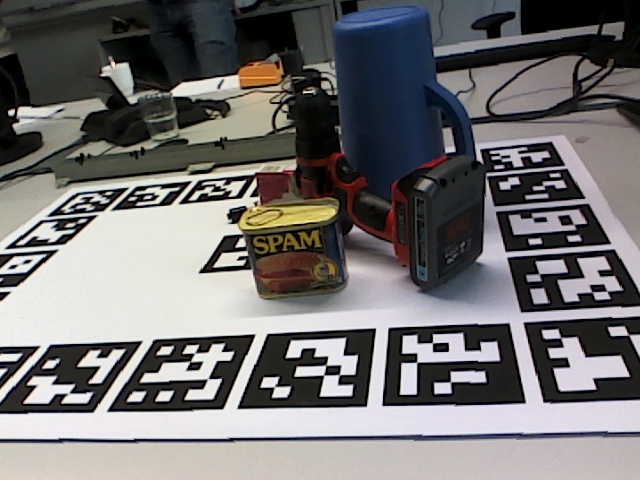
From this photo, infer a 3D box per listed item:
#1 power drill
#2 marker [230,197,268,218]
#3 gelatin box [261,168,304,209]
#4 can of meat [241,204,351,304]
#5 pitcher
[{"bbox_3d":[0.047,-0.062,0.651,0.188,0.184,0.057,22,44,38],"label":"power drill"},{"bbox_3d":[-0.065,-0.055,0.851,0.121,0.019,0.020,-18,28,-11],"label":"marker"},{"bbox_3d":[-0.024,-0.053,0.782,0.090,0.073,0.030,2,33,21],"label":"gelatin box"},{"bbox_3d":[-0.021,0.015,0.630,0.102,0.083,0.058,-5,26,11],"label":"can of meat"},{"bbox_3d":[0.105,-0.135,0.720,0.190,0.241,0.133,8,35,44],"label":"pitcher"}]
